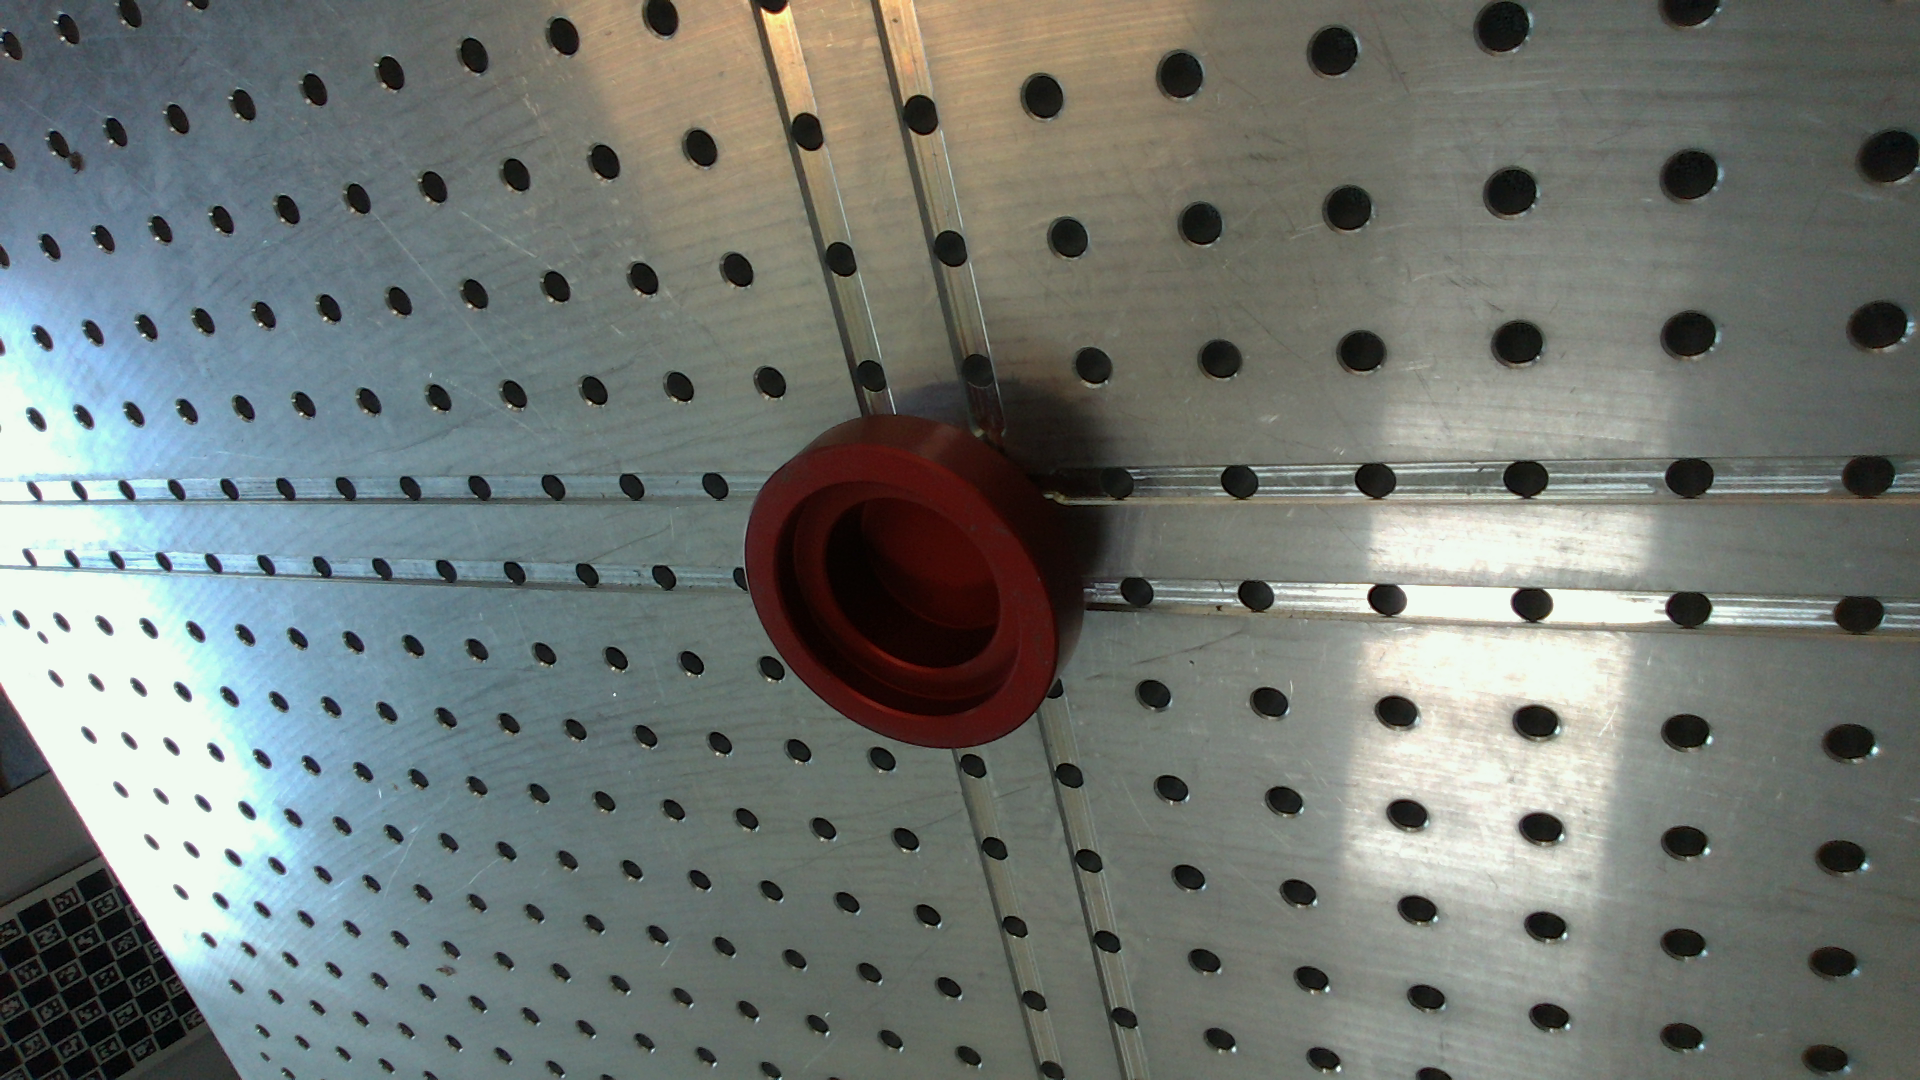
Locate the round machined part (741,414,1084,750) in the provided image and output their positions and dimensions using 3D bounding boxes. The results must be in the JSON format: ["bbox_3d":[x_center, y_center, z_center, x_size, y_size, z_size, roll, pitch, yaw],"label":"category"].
[{"bbox_3d":[-0.010,0.008,0.395,0.098,0.042,0.098,13,124,21],"label":"round machined part"}]
